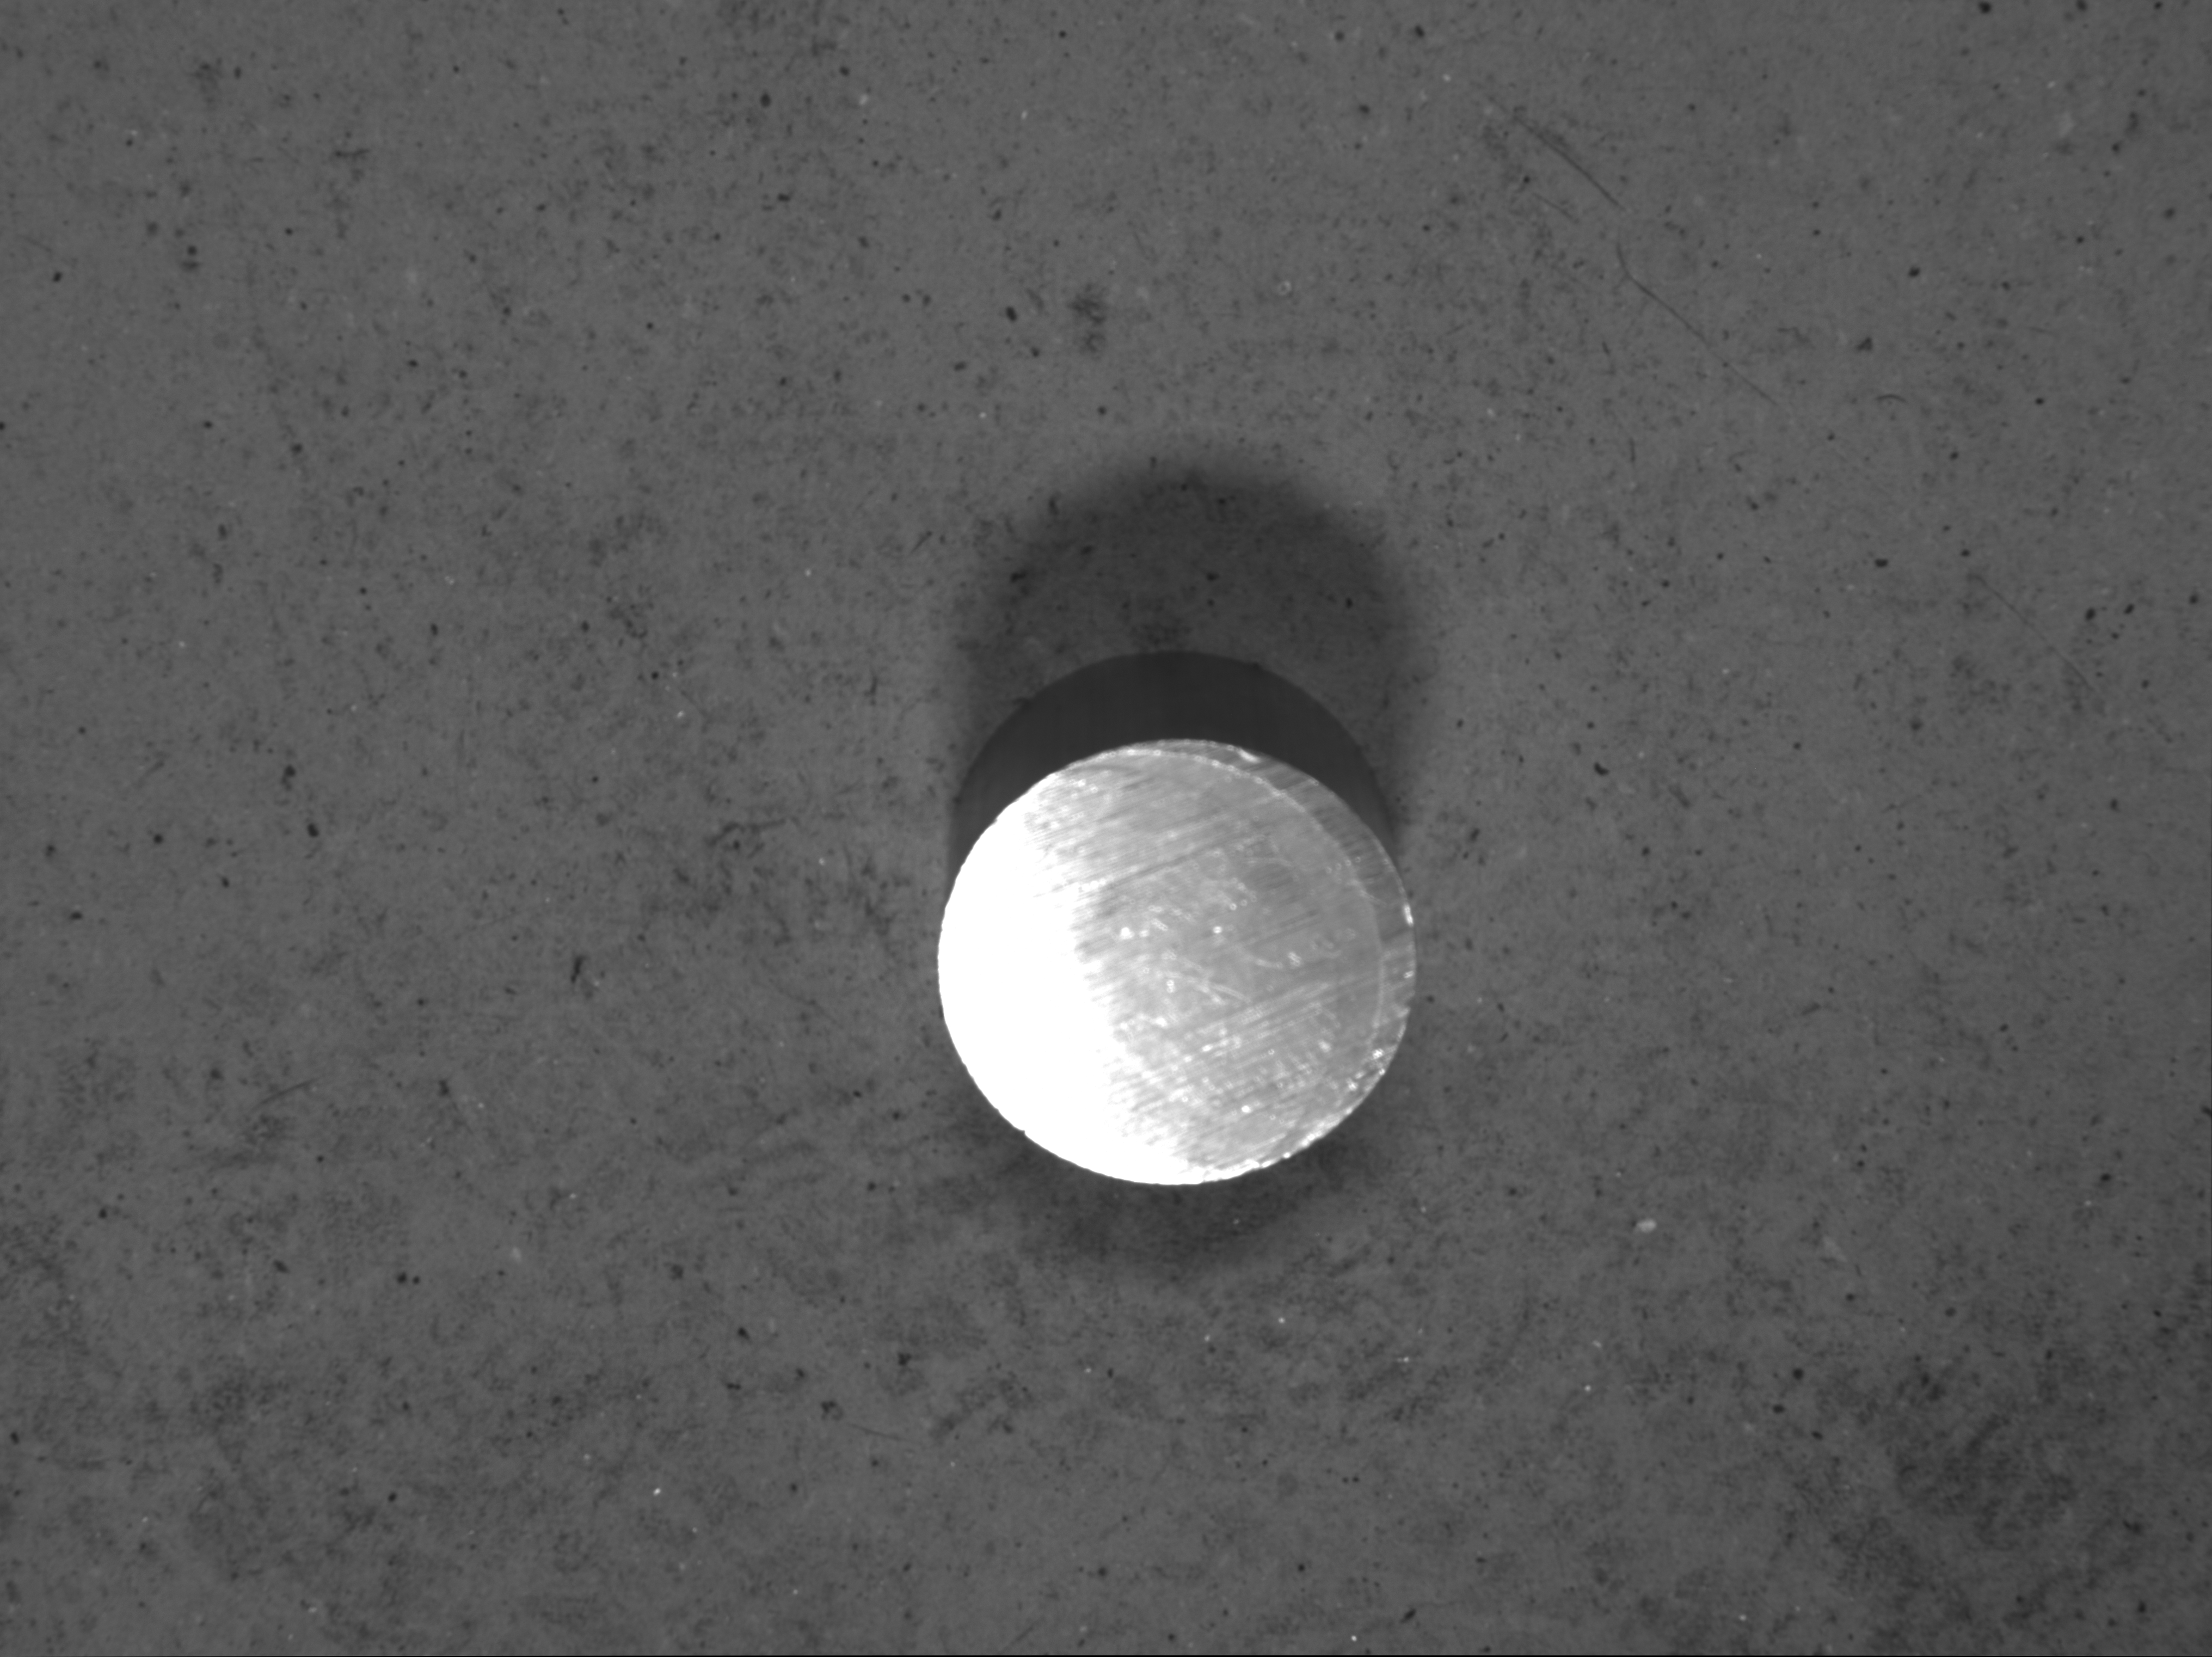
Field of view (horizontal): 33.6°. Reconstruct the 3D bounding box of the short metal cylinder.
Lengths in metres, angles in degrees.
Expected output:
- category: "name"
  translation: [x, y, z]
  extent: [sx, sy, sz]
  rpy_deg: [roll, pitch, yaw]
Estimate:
- category: "short metal cylinder"
  translation: [0.010, 0.015, 0.635]
  extent: [0.080, 0.050, 0.080]
  rpy_deg: [0, 110, -1]
